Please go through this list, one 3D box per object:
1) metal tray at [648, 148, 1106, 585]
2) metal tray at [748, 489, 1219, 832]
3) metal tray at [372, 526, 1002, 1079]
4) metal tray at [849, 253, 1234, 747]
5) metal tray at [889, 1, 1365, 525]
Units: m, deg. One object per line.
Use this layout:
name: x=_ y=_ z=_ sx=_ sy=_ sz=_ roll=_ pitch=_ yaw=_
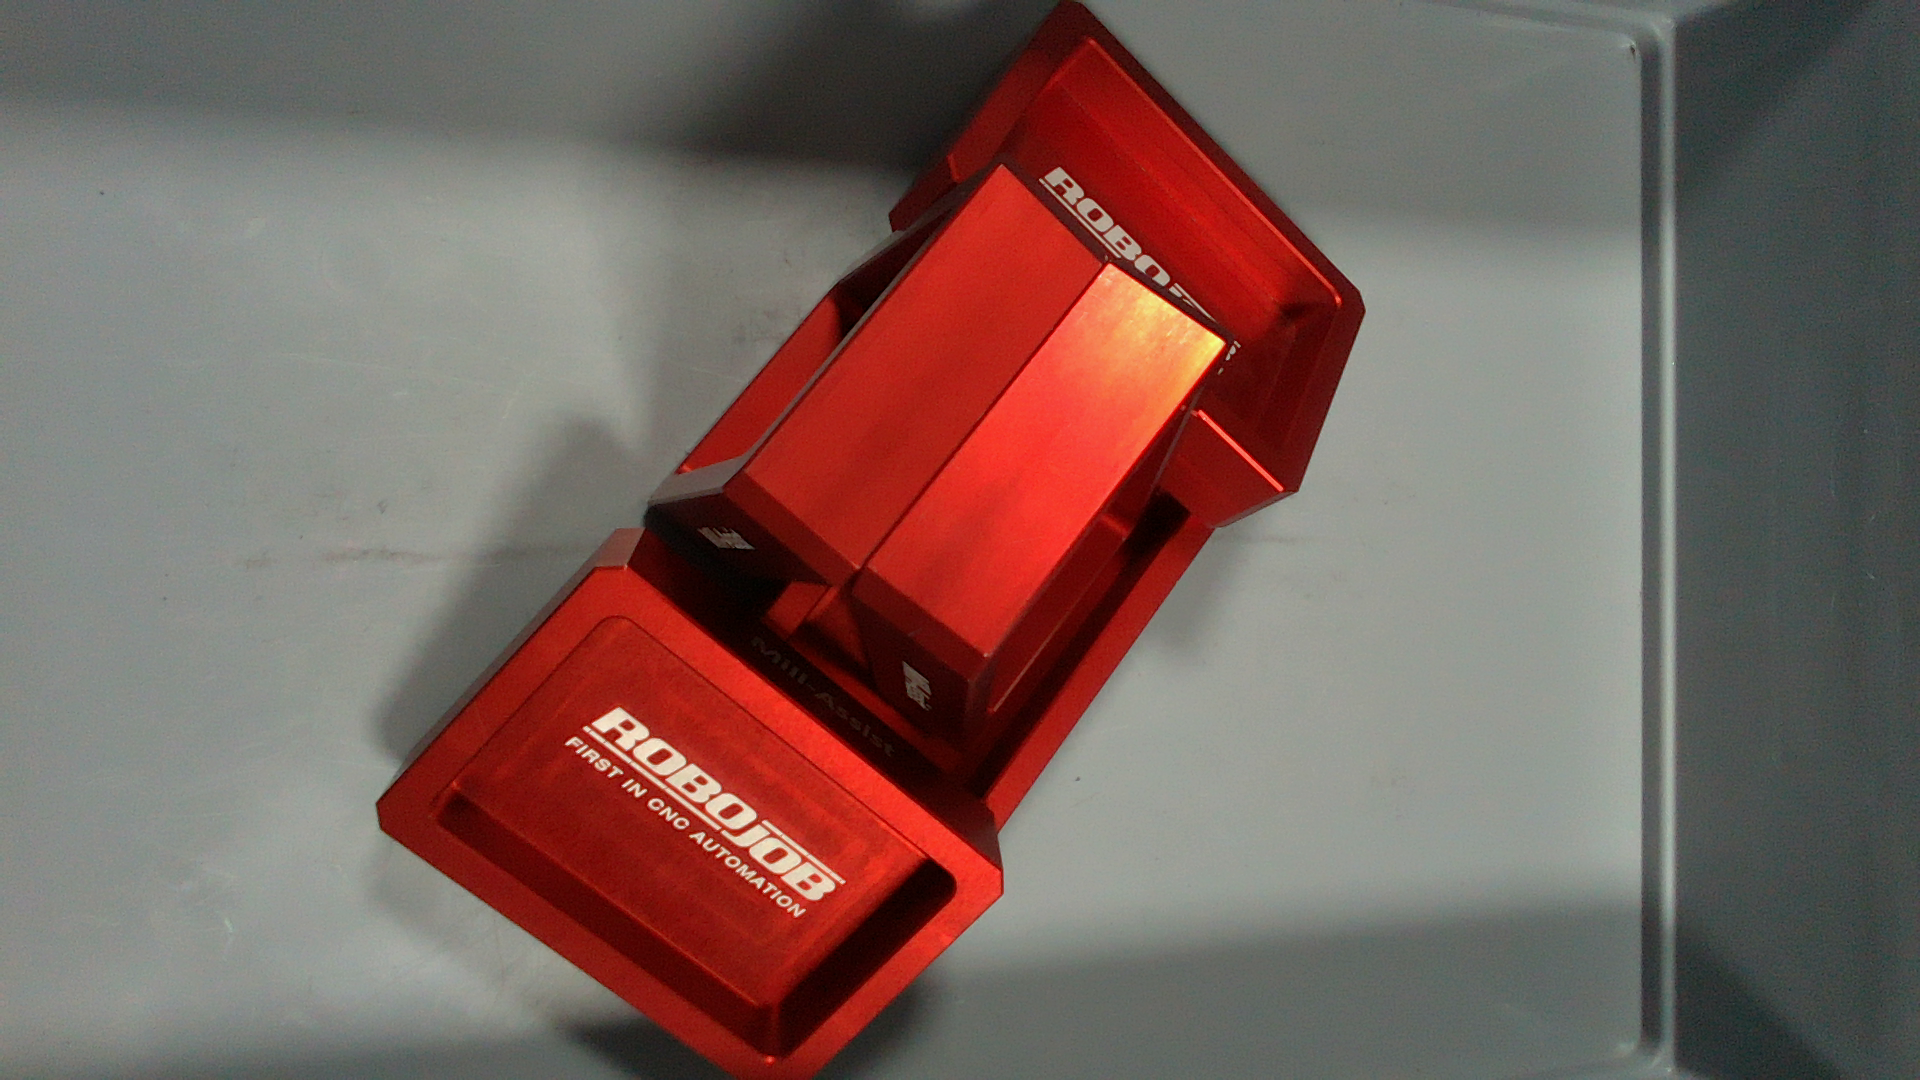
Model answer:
metal tray: x=-0.027 y=-0.035 z=0.325 sx=0.030 sy=0.130 sz=0.090 roll=41 pitch=77 yaw=-14
metal tray: x=0.007 y=0.009 z=0.391 sx=0.090 sy=0.030 sz=0.130 roll=41 pitch=77 yaw=-15
metal tray: x=-0.065 y=0.071 z=0.348 sx=0.130 sy=0.030 sz=0.090 roll=41 pitch=101 yaw=-16
metal tray: x=0.016 y=-0.001 z=0.329 sx=0.030 sy=0.130 sz=0.090 roll=36 pitch=77 yaw=8
metal tray: x=0.053 y=-0.078 z=0.390 sx=0.130 sy=0.030 sz=0.090 roll=41 pitch=52 yaw=-15
